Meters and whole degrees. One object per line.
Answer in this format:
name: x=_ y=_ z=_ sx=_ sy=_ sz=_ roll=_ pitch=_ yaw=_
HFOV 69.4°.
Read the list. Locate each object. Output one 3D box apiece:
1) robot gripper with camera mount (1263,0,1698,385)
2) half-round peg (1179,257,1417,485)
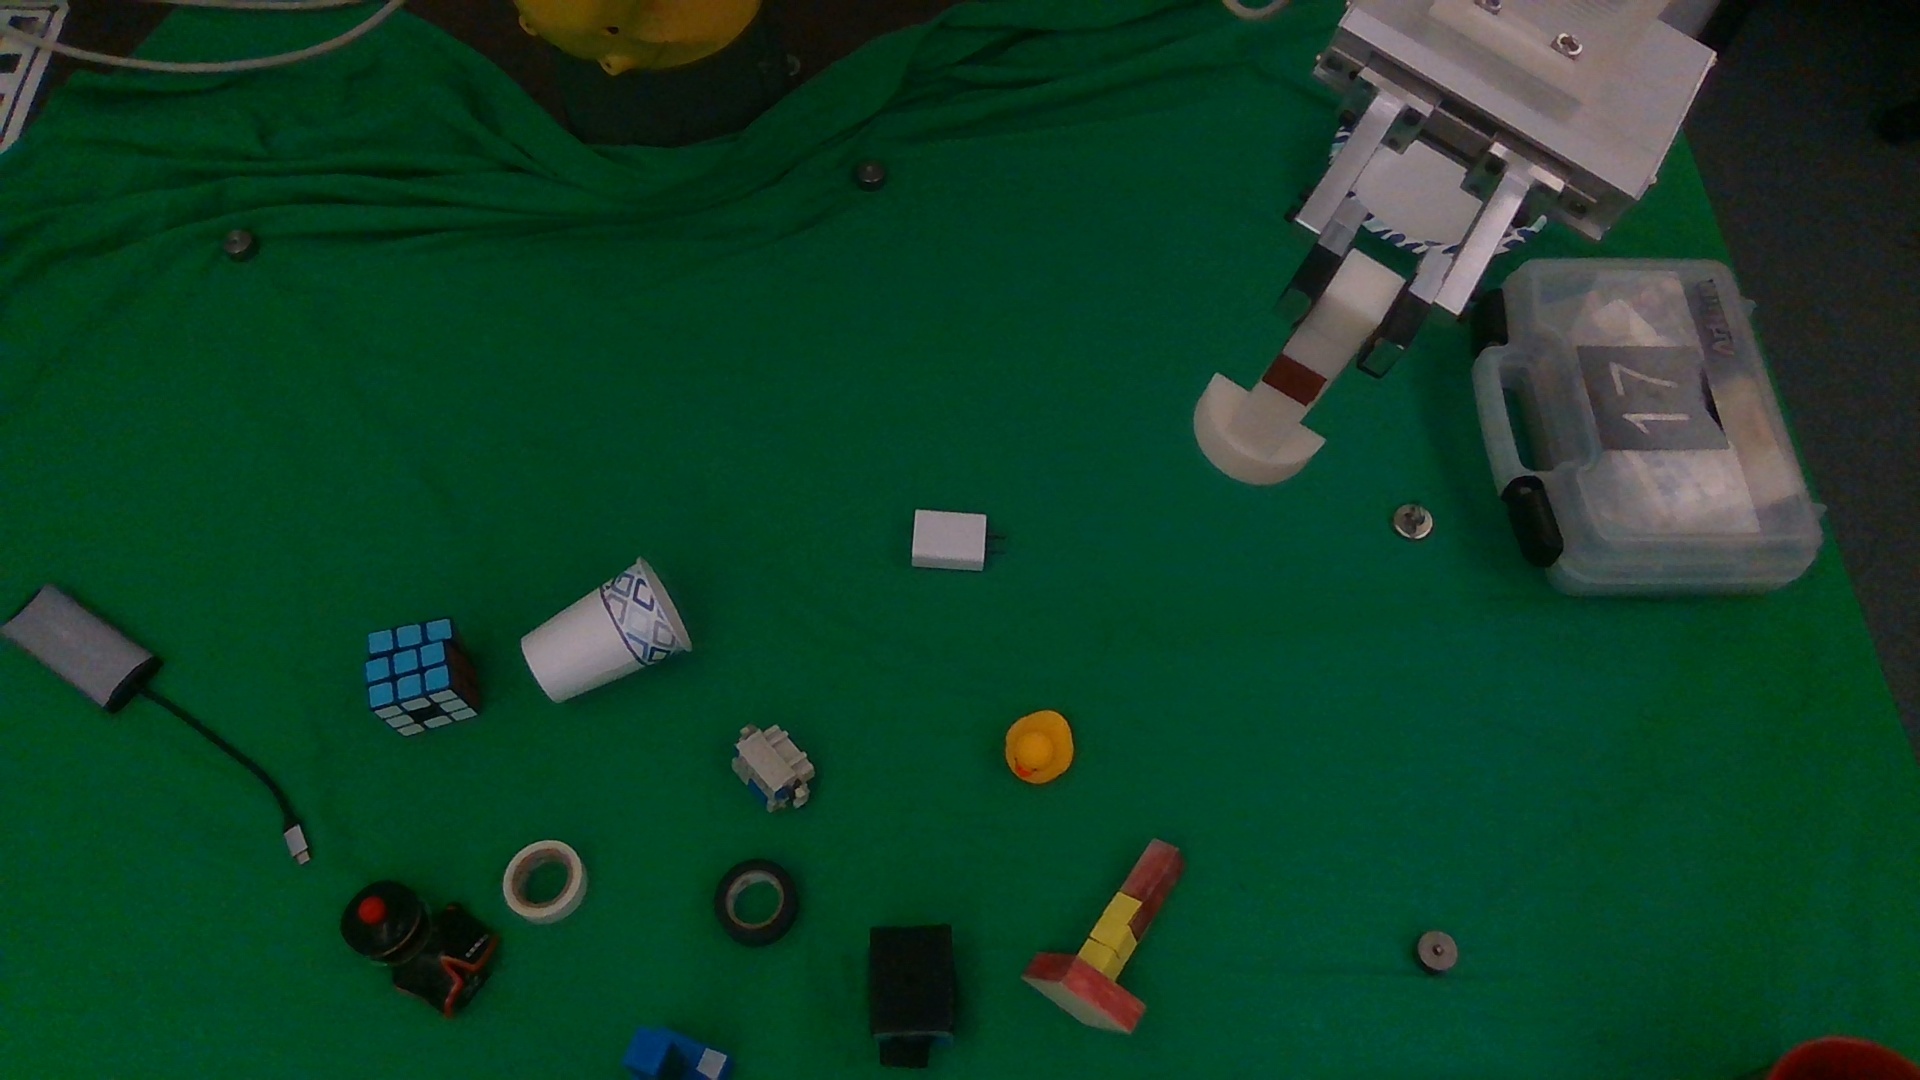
robot gripper with camera mount: x=0.174 y=-0.149 z=0.396 sx=0.119 sy=0.193 sz=0.158 roll=33 pitch=68 yaw=4
half-round peg: x=0.120 y=-0.058 z=0.489 sx=0.054 sy=0.122 sz=0.031 roll=30 pitch=65 yaw=1
